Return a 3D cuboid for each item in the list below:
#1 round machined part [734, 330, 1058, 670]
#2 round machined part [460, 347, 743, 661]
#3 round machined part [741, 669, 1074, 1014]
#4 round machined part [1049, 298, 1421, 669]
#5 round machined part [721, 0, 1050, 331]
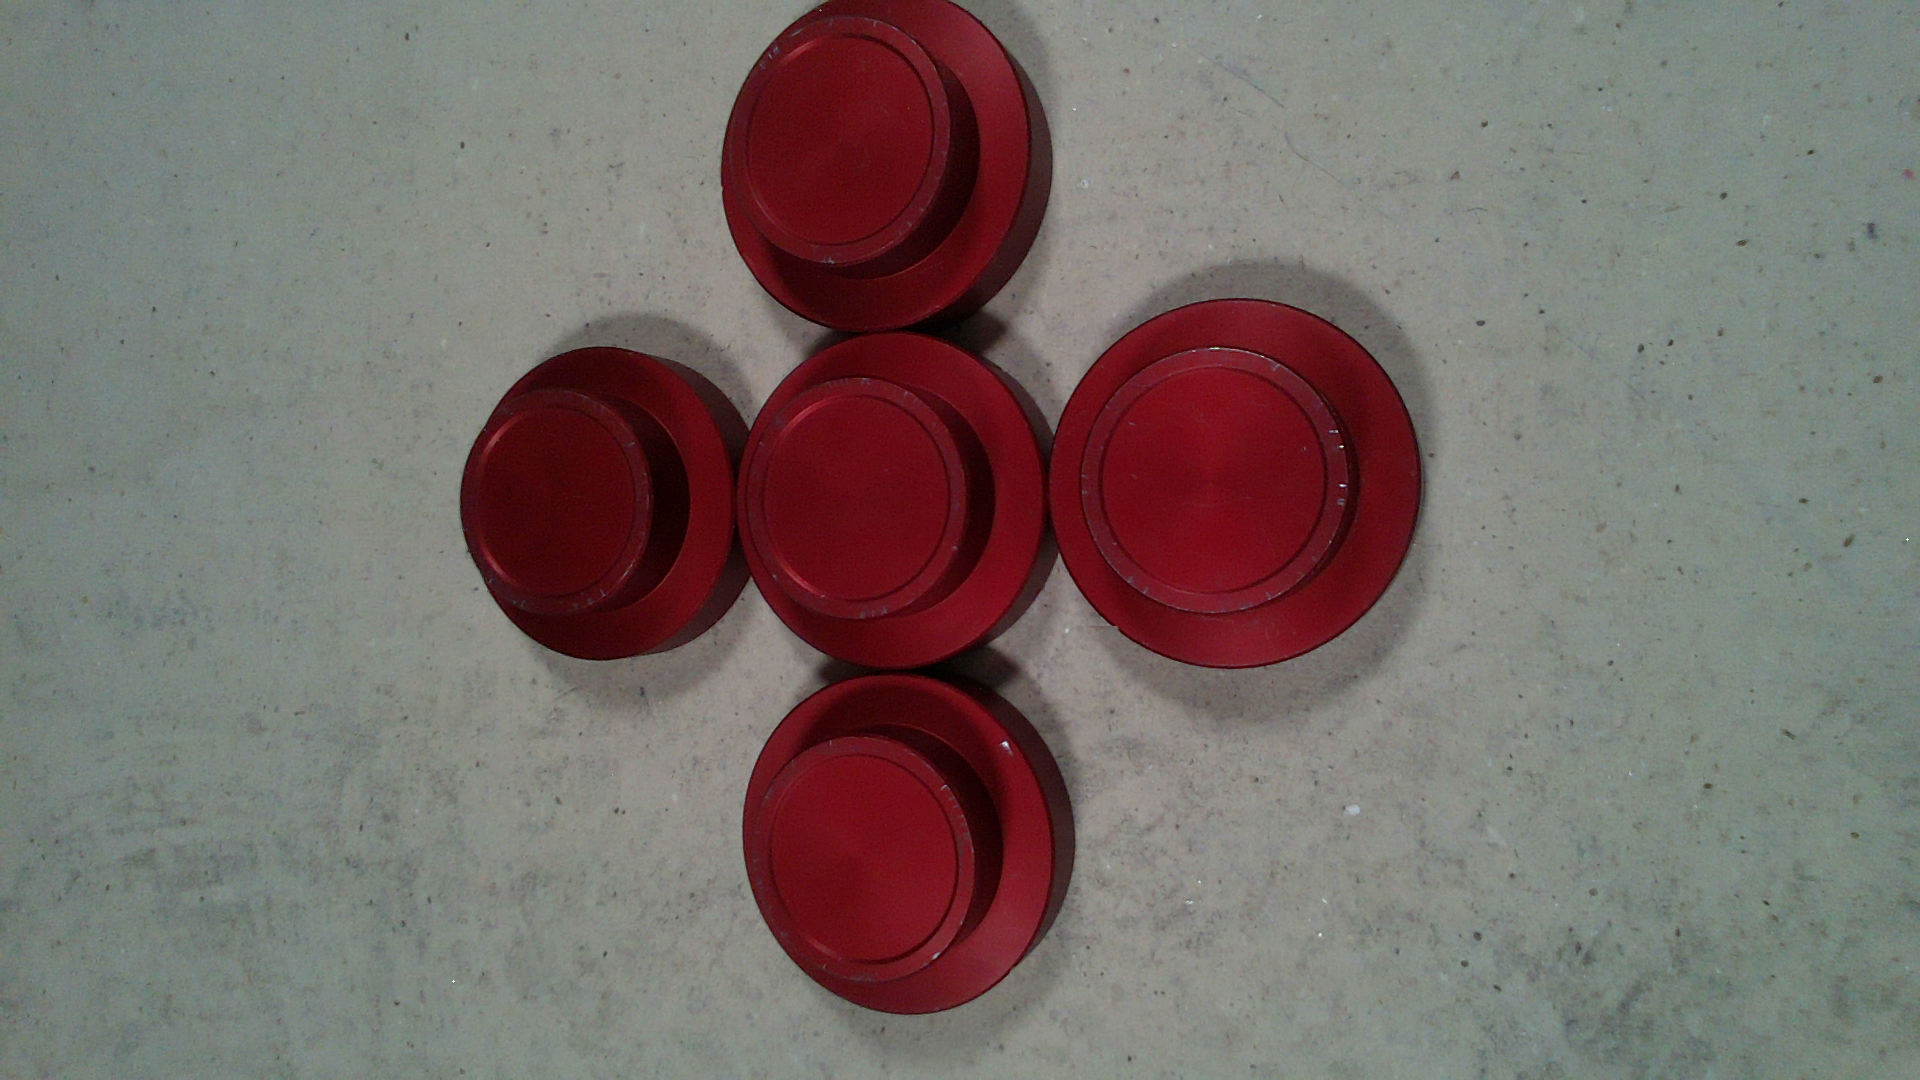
[{"bbox_3d":[-0.022,-0.012,0.395,0.098,0.042,0.098,0,90,20],"label":"round machined part"},{"bbox_3d":[-0.114,-0.011,0.428,0.098,0.042,0.098,0,90,20],"label":"round machined part"},{"bbox_3d":[-0.020,0.087,0.394,0.098,0.042,0.098,0,90,20],"label":"round machined part"},{"bbox_3d":[0.070,-0.015,0.362,0.098,0.042,0.098,0,90,20],"label":"round machined part"},{"bbox_3d":[-0.027,-0.110,0.397,0.098,0.042,0.098,0,90,20],"label":"round machined part"}]
